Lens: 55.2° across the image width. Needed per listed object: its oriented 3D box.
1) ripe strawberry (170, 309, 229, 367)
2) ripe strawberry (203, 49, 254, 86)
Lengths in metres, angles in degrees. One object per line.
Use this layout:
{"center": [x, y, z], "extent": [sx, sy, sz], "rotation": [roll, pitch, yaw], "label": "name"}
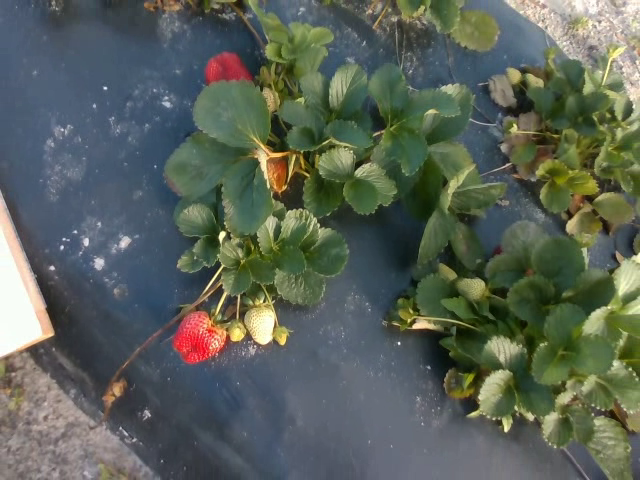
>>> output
{"center": [-0.120, 0.097, 0.591], "extent": [0.050, 0.048, 0.035], "rotation": [-44, -6, -2], "label": "ripe strawberry"}
{"center": [-0.106, -0.182, 0.697], "extent": [0.058, 0.071, 0.057], "rotation": [-14, 22, 5], "label": "ripe strawberry"}
